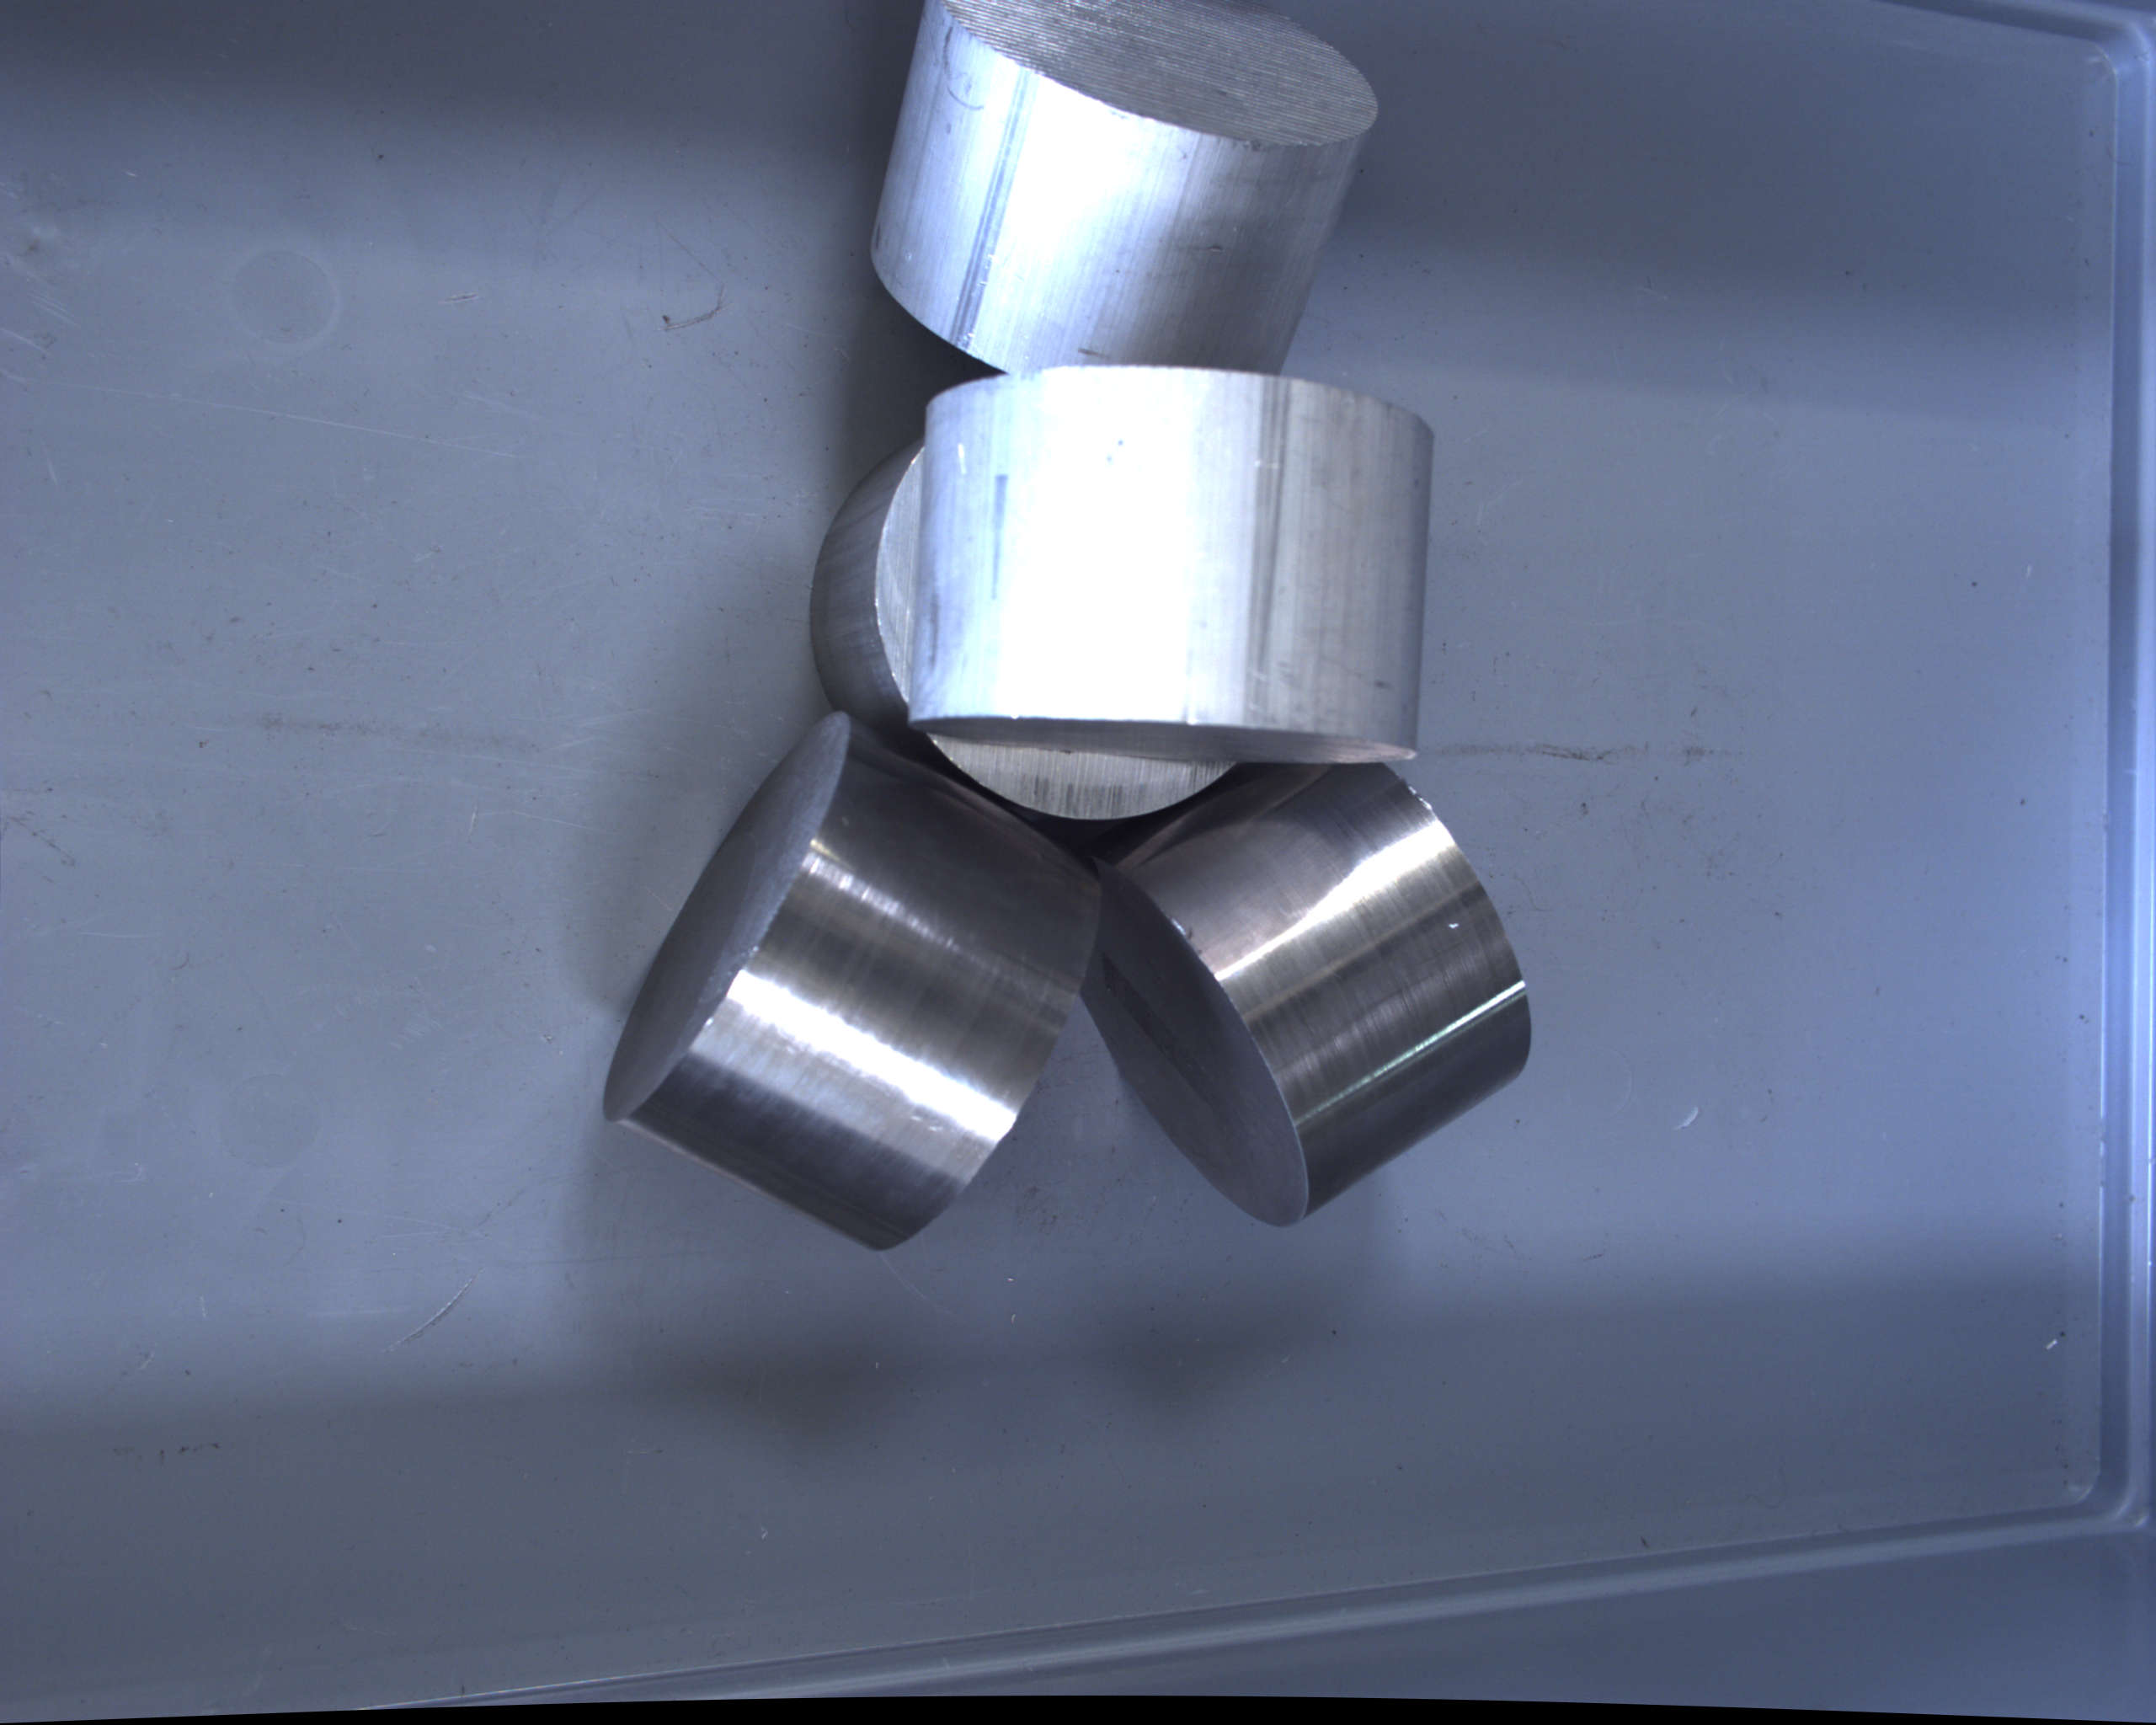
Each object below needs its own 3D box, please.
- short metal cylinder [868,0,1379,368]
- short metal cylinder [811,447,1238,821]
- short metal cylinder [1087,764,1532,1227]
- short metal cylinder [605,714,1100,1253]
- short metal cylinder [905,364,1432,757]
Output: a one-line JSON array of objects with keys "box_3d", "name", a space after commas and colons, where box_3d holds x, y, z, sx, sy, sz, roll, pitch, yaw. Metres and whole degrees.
[{"box_3d": [0.007, -0.124, 0.375, 0.081, 0.080, 0.050, 4, 131, -20], "name": "short metal cylinder"}, {"box_3d": [-0.005, -0.047, 0.392, 0.081, 0.050, 0.080, 0, 90, -20], "name": "short metal cylinder"}, {"box_3d": [0.039, 0.021, 0.394, 0.050, 0.080, 0.080, -30, 100, -17], "name": "short metal cylinder"}, {"box_3d": [-0.040, 0.021, 0.365, 0.050, 0.080, 0.080, 31, 80, -17], "name": "short metal cylinder"}, {"box_3d": [0.014, -0.044, 0.331, 0.081, 0.080, 0.050, 3, 89, -20], "name": "short metal cylinder"}]
